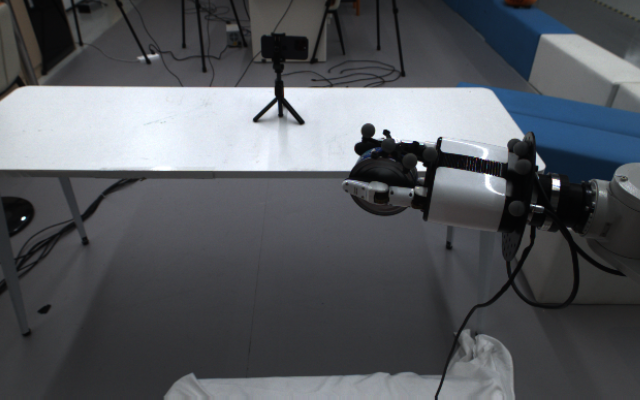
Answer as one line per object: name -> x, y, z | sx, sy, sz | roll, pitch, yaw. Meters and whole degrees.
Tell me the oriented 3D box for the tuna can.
tuna can -> 0.083, -0.026, 0.620 | 0.085, 0.085, 0.034 | 12, 33, 14
